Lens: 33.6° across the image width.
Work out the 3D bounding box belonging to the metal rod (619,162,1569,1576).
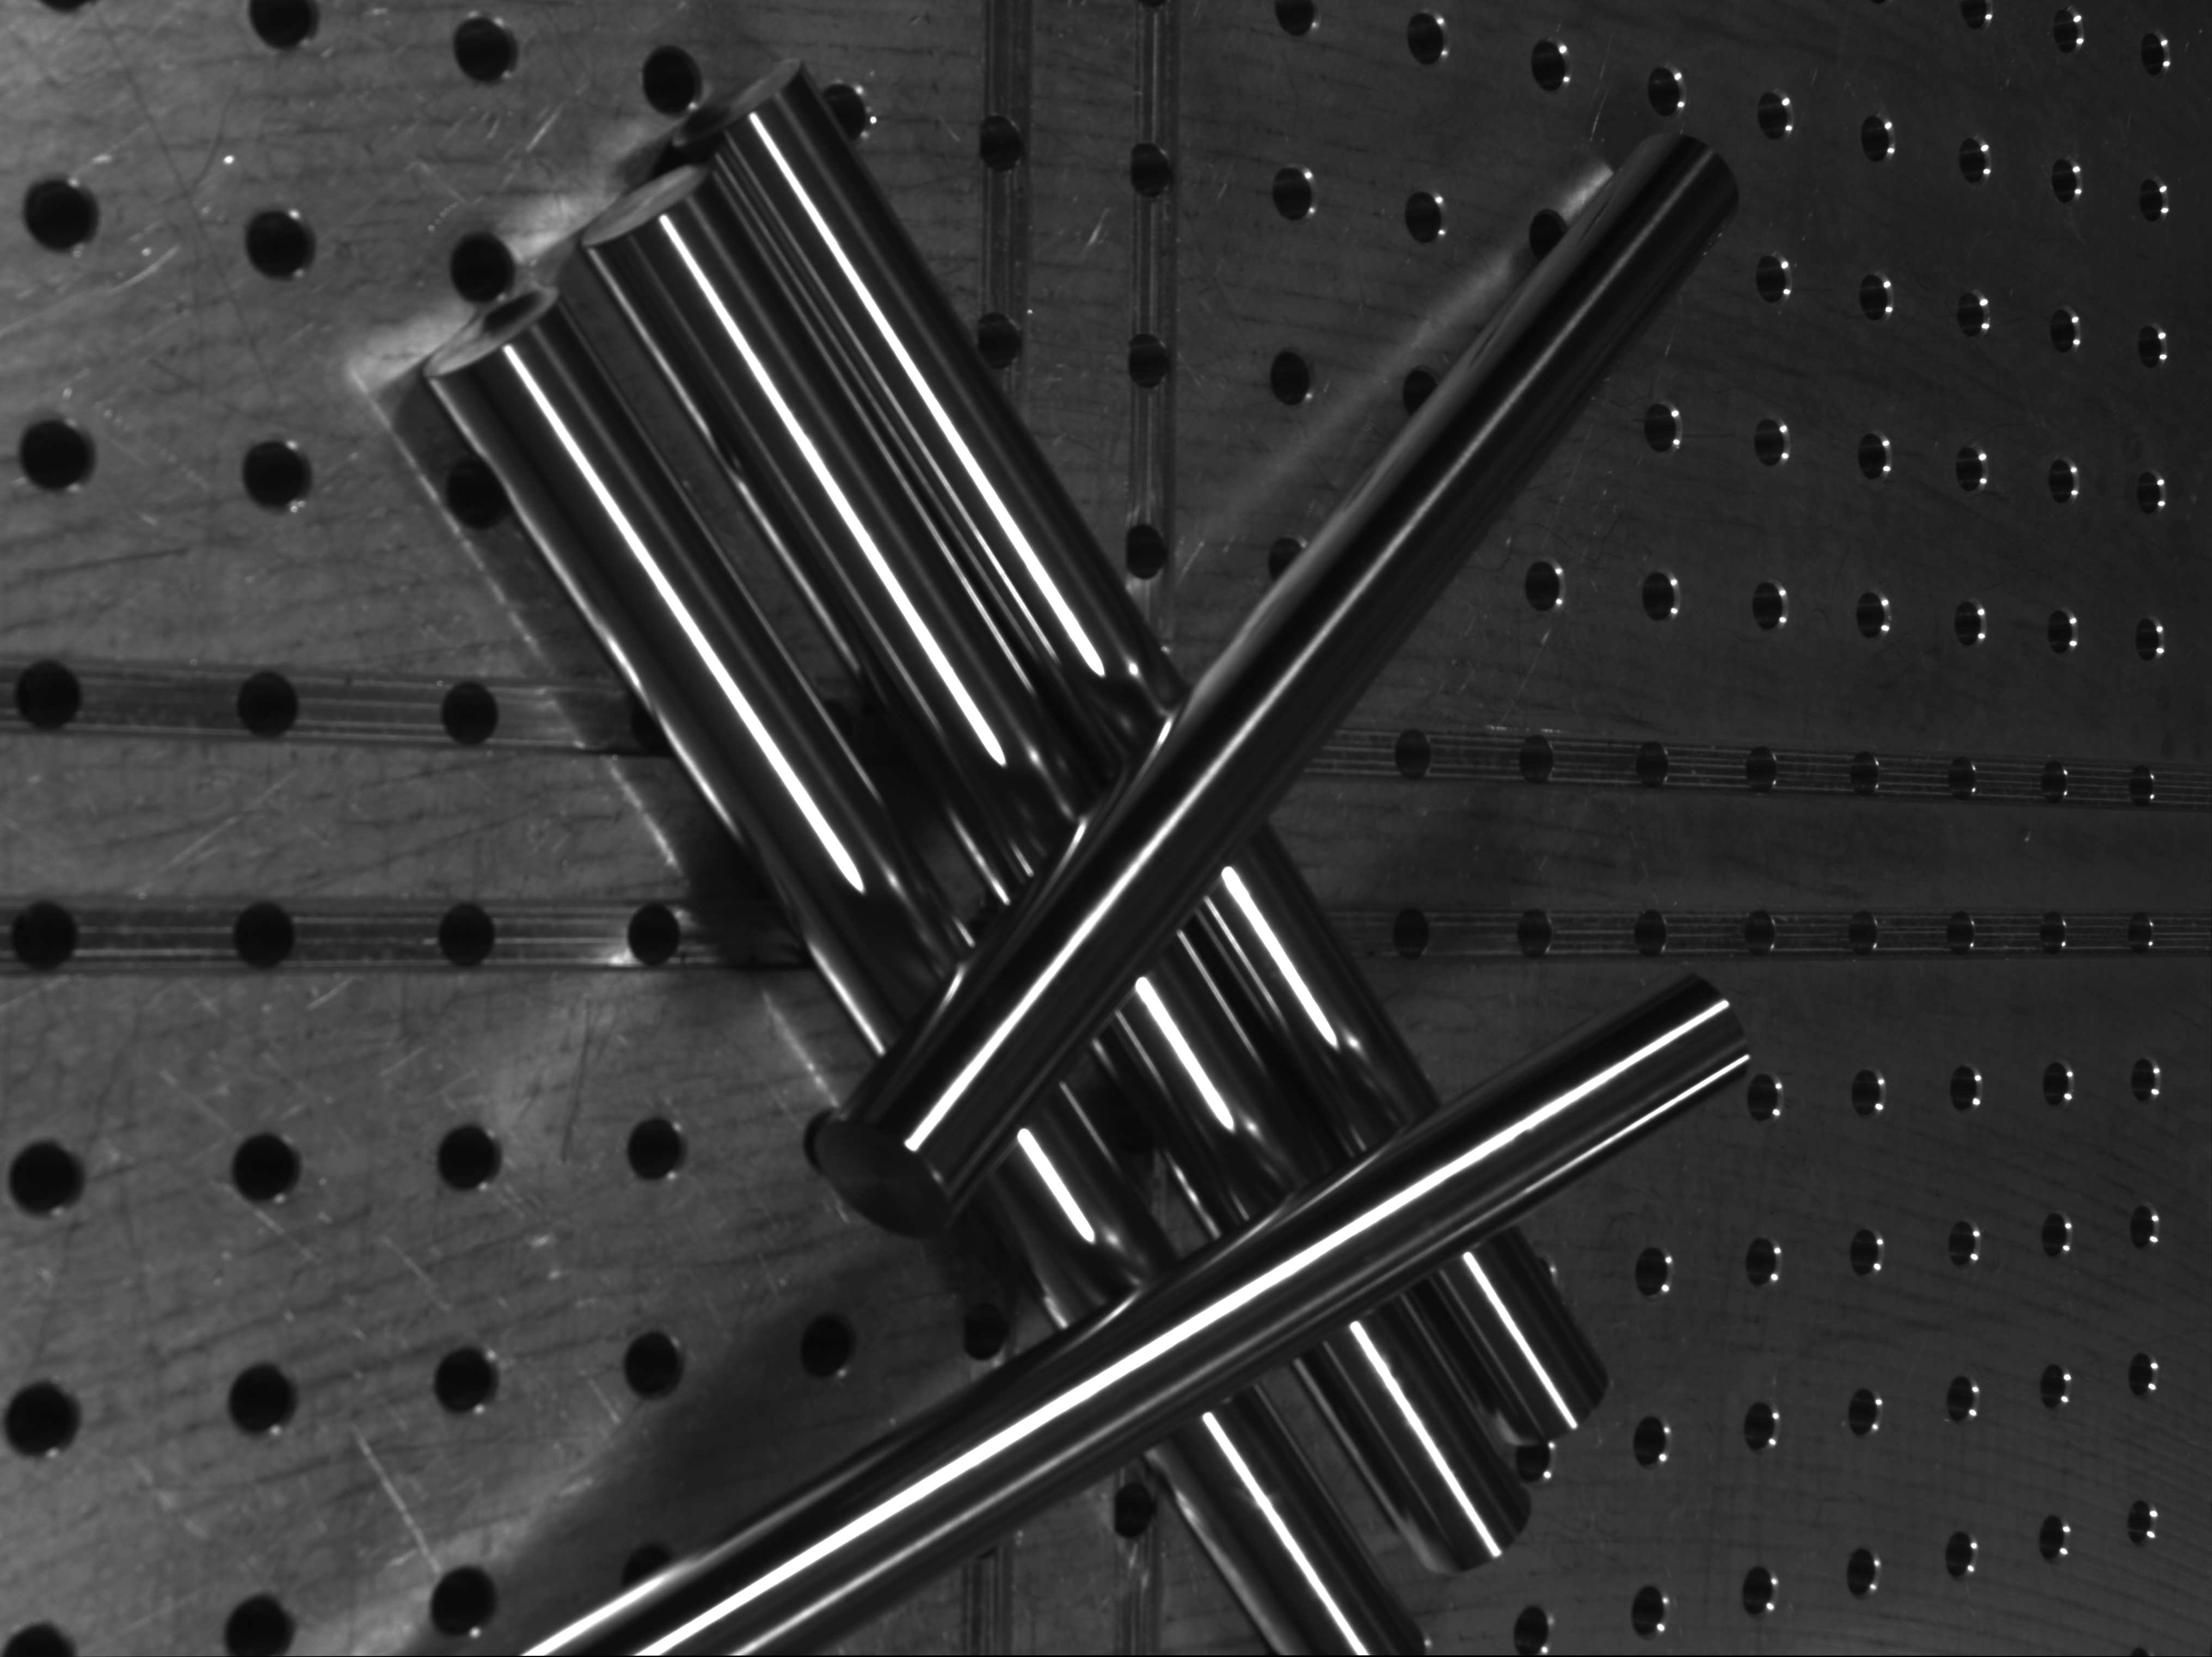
[{"bbox_3d":[0.005,0.018,0.644,0.025,0.025,0.300,-46,118,-30],"label":"metal rod"}]

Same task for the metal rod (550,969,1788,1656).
[{"bbox_3d":[0.000,0.098,0.613,0.301,0.025,0.025,-27,107,-28],"label":"metal rod"}]

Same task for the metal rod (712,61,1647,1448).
[{"bbox_3d":[0.021,-0.003,0.657,0.025,0.025,0.300,-47,118,-29],"label":"metal rod"}]

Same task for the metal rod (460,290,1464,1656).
[{"bbox_3d":[-0.017,0.041,0.626,0.025,0.025,0.300,-46,118,-30],"label":"metal rod"}]

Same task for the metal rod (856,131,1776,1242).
[{"bbox_3d":[0.048,-0.038,0.654,0.300,0.025,0.025,-51,120,-37],"label":"metal rod"}]
